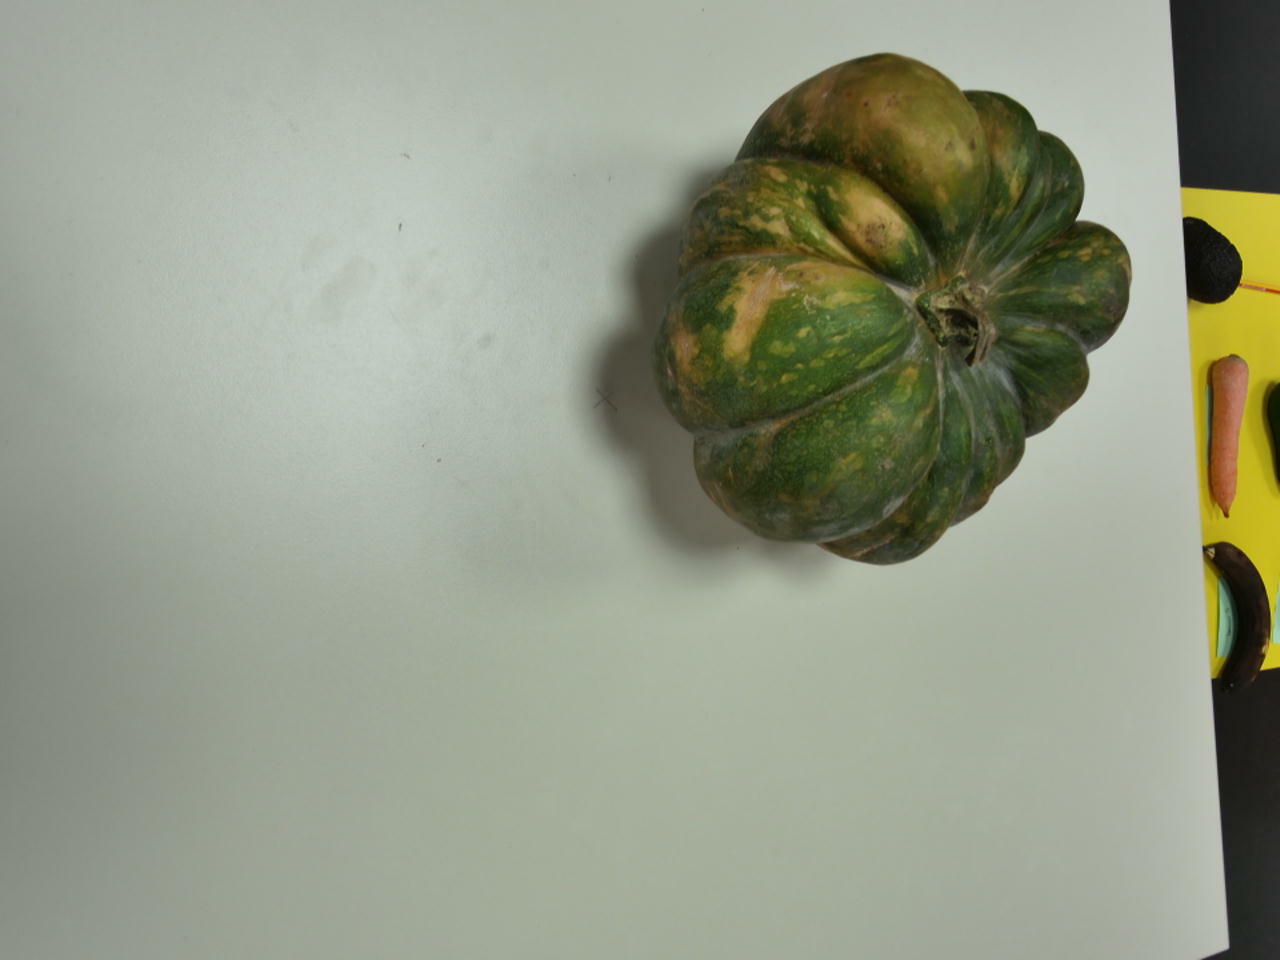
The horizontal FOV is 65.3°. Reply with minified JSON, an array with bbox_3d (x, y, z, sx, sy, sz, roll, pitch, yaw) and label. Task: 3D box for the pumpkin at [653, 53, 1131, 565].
[{"bbox_3d":[0.130,-0.084,0.529,0.237,0.173,0.270,34,79,-19],"label":"pumpkin"}]
